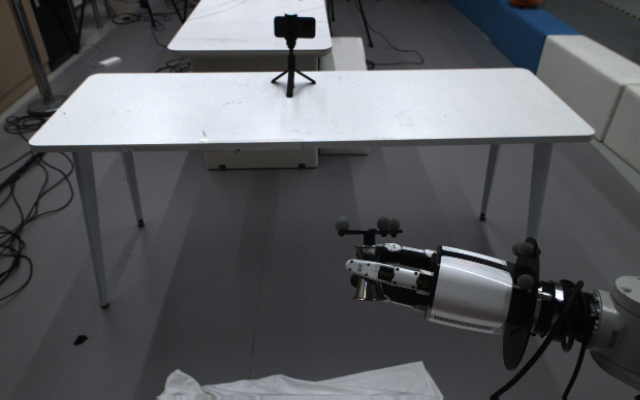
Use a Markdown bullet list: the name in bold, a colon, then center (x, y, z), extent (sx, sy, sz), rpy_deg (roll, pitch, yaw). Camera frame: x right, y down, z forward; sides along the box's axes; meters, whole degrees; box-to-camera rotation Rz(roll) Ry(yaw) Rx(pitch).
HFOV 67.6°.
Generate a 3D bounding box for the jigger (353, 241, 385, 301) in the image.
- **jigger**: center (0.062, 0.091, 0.618), extent (0.043, 0.071, 0.043), rpy_deg (1, -5, 0)
